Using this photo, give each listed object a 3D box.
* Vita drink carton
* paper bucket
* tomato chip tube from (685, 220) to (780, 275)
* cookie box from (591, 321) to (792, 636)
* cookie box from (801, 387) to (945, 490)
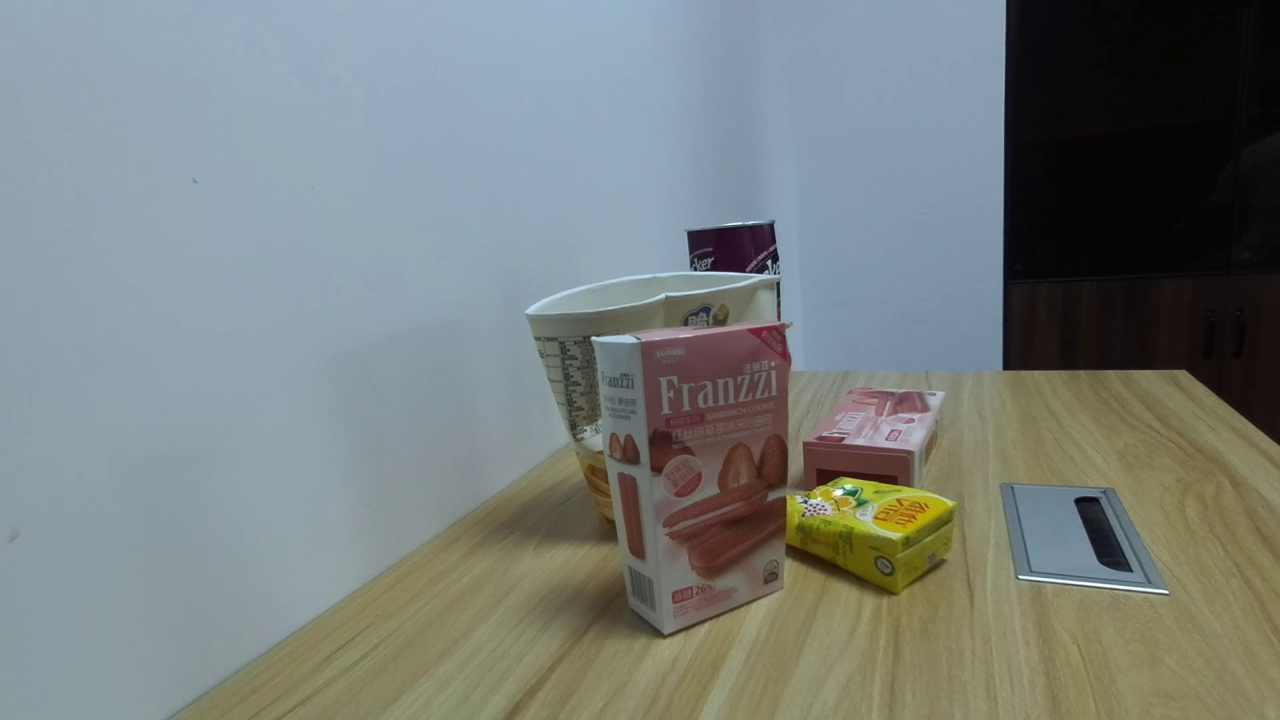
[{"bbox_3d":[0.159,0.119,0.503,0.087,0.042,0.108,-18,13,-29],"label":"Vita drink carton"},{"bbox_3d":[0.030,0.030,0.603,0.147,0.199,0.219,1,14,29],"label":"paper bucket"},{"bbox_3d":[0.106,-0.027,0.750,0.077,0.235,0.076,2,15,36],"label":"tomato chip tube"},{"bbox_3d":[0.040,0.069,0.450,0.119,0.184,0.055,-9,14,-21],"label":"cookie box"},{"bbox_3d":[0.228,0.074,0.672,0.096,0.048,0.185,3,14,29],"label":"cookie box"}]
